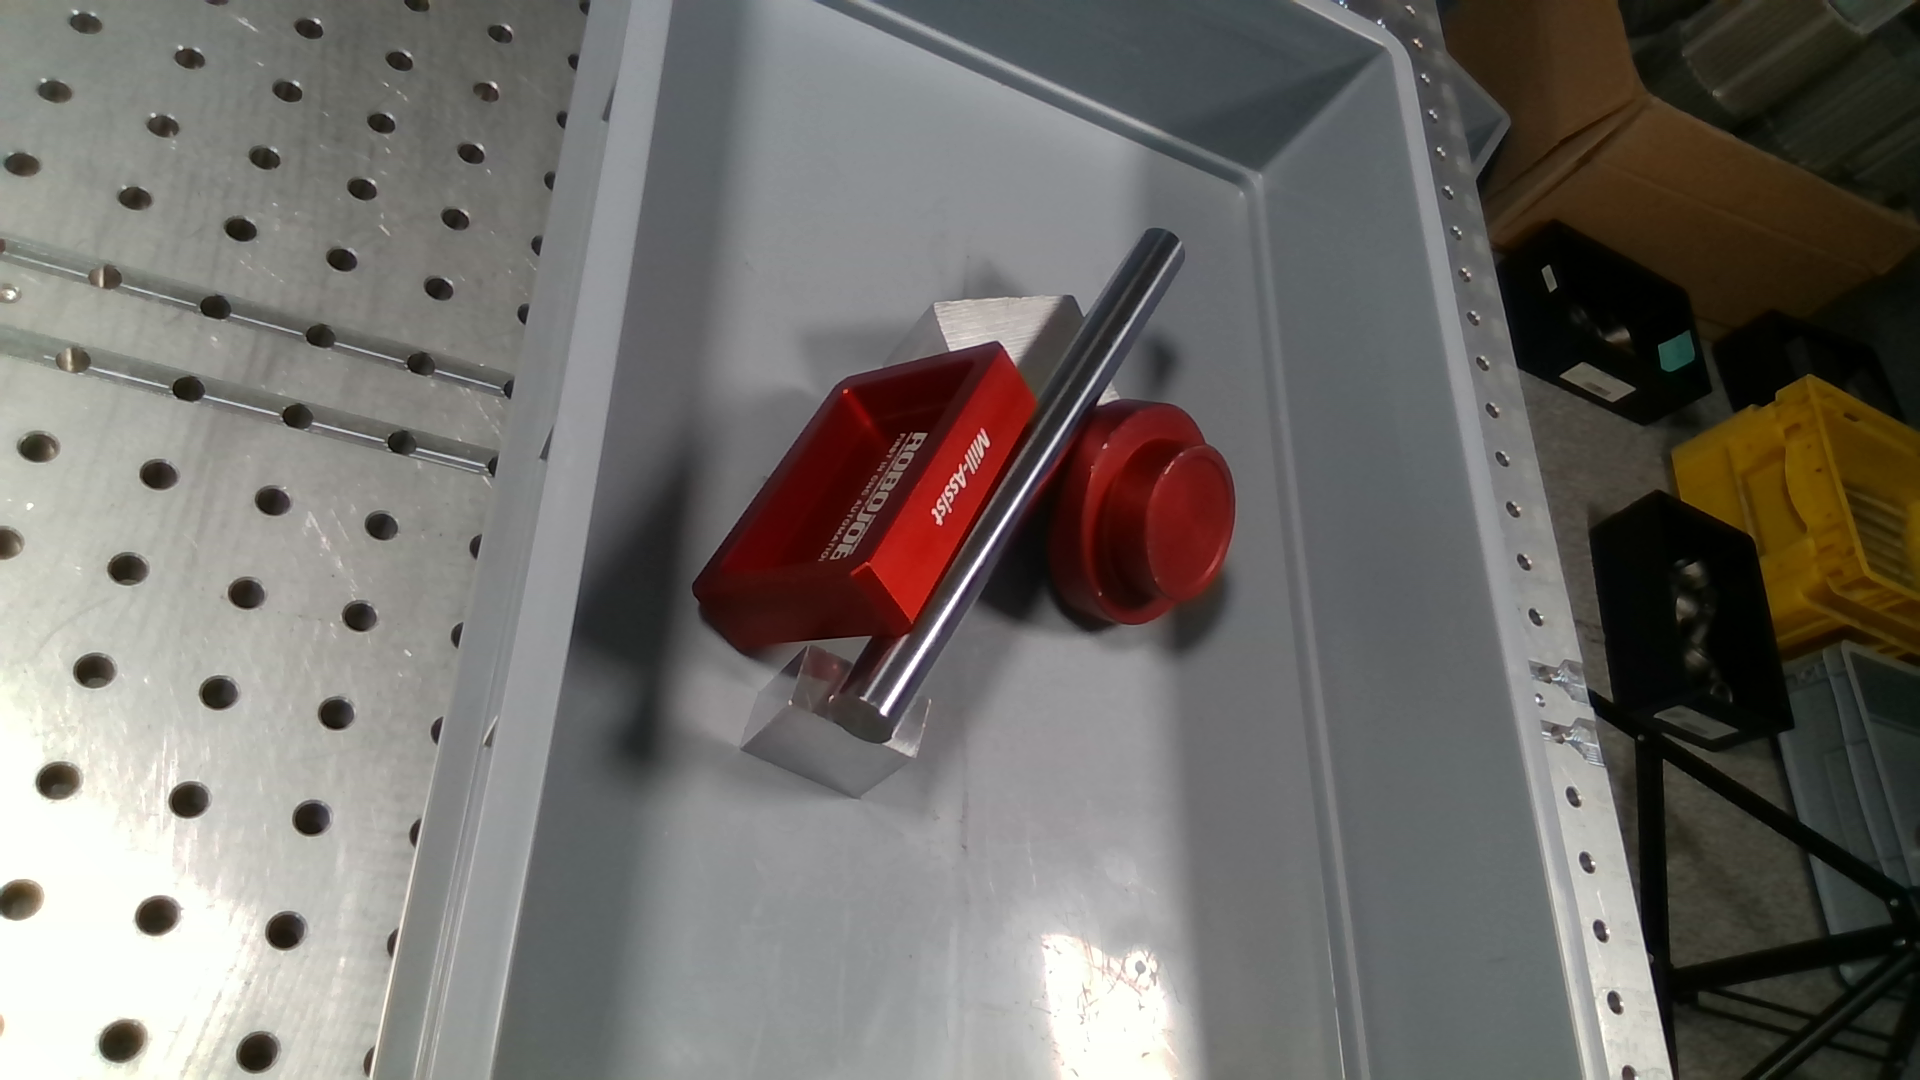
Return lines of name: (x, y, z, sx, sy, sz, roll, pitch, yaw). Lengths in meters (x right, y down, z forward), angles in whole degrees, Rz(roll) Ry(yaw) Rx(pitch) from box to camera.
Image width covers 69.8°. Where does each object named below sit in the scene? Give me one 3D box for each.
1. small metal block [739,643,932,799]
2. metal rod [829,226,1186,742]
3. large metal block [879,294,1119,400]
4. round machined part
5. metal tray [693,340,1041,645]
small metal block: (-0.046, 0.068, 0.504, 0.050, 0.050, 0.025, 27, 54, -17)
metal rod: (0.031, -0.039, 0.558, 0.025, 0.025, 0.299, 39, 51, -8)
large metal block: (0.022, -0.061, 0.614, 0.080, 0.050, 0.080, -9, 70, -35)
round machined part: (0.084, -0.010, 0.598, 0.098, 0.042, 0.098, -16, 112, -45)
metal tray: (-0.034, -0.019, 0.528, 0.030, 0.090, 0.130, 56, 45, -30)
